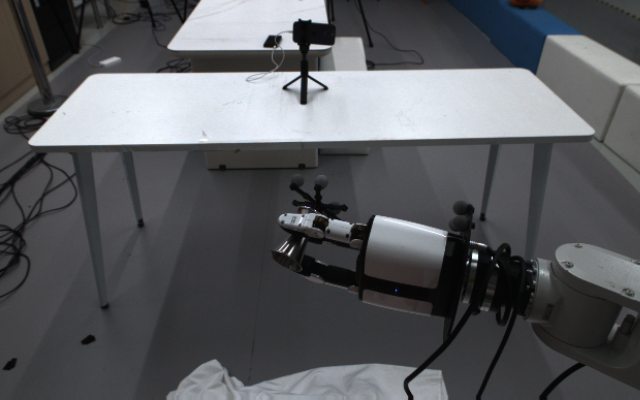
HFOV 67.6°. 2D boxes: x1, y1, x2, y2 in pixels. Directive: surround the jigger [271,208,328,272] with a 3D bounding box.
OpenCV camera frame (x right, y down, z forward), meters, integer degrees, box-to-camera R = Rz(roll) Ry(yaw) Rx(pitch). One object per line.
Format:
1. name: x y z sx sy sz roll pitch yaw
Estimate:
1. jigger: -0.026 0.043 0.581 0.043 0.043 0.071 19 61 23
